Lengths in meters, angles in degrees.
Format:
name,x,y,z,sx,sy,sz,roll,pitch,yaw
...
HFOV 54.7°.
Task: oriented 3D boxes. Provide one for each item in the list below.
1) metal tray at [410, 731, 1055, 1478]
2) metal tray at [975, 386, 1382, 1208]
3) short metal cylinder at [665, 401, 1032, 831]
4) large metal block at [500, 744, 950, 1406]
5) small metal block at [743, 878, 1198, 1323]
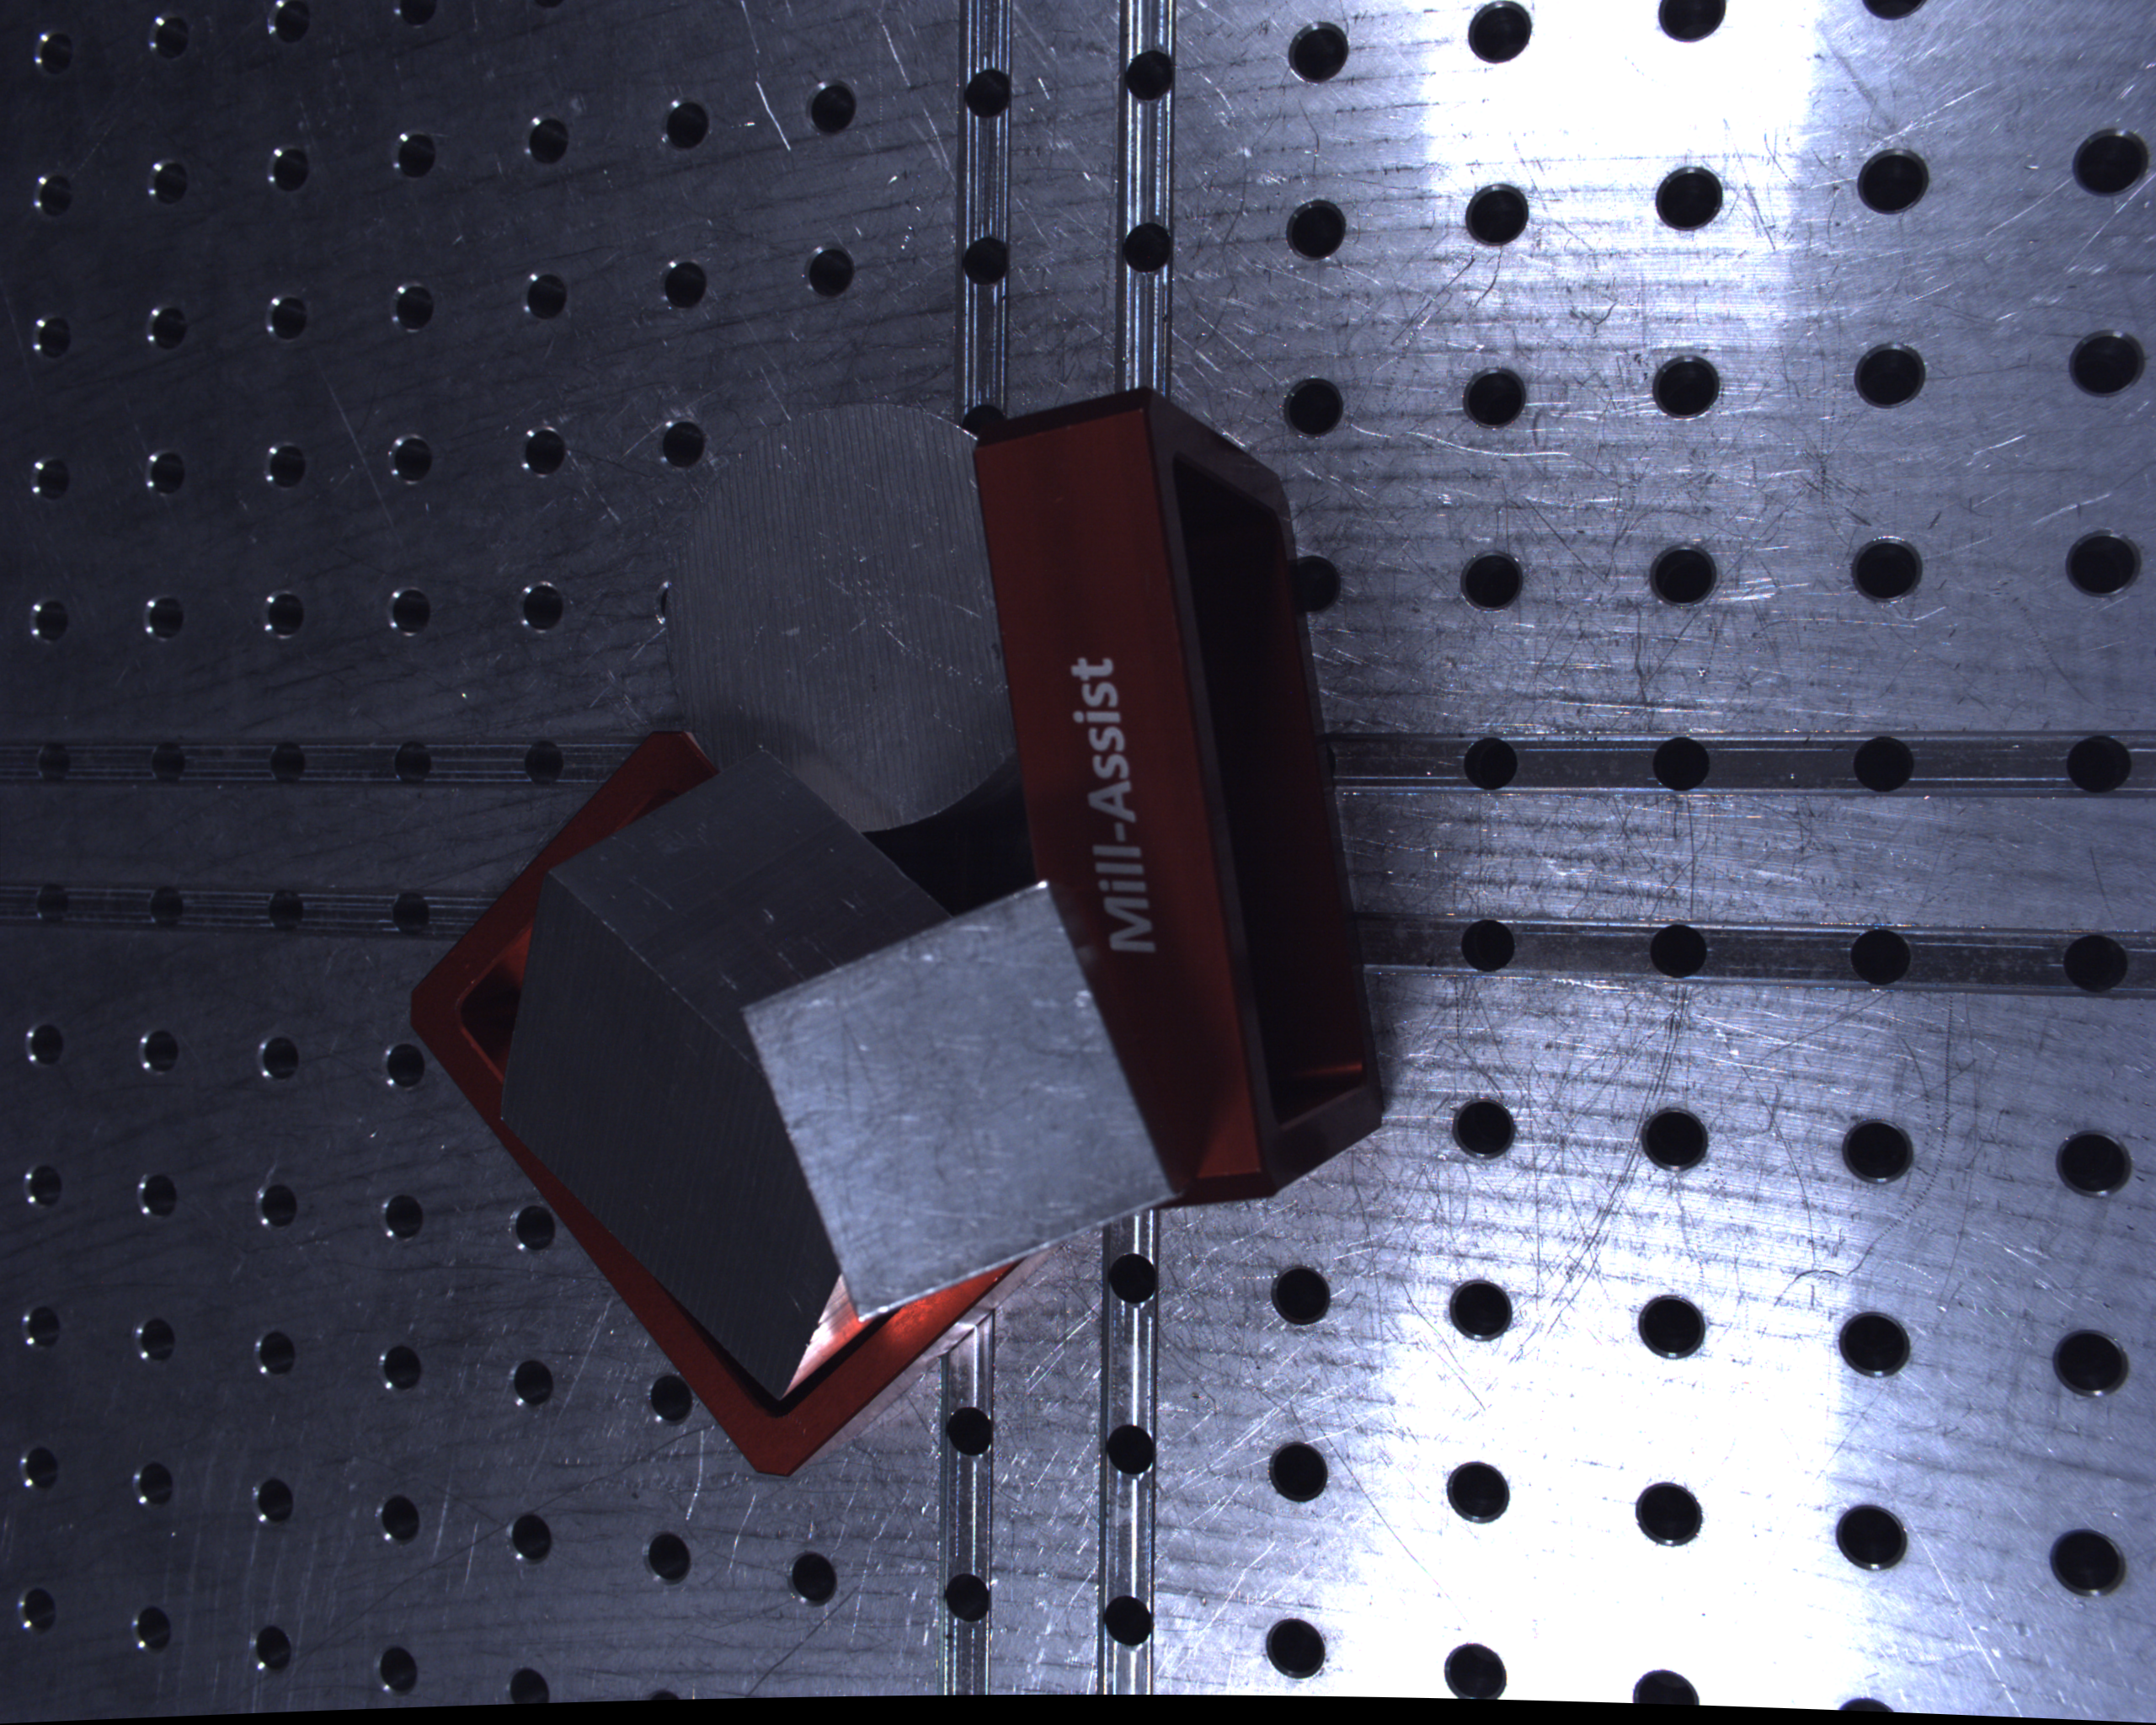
name,x,y,z,sx,sy,sz,roll,pitch,yaw
metal tray,-0.067,0.048,0.431,0.090,0.030,0.130,-45,77,14
metal tray,0.021,-0.010,0.370,0.030,0.090,0.129,-10,87,19
short metal cylinder,-0.033,-0.046,0.410,0.080,0.050,0.079,0,90,19
large metal block,-0.056,0.040,0.385,0.080,0.050,0.079,41,138,14
small metal block,-0.015,0.036,0.317,0.050,0.025,0.050,-23,83,7
